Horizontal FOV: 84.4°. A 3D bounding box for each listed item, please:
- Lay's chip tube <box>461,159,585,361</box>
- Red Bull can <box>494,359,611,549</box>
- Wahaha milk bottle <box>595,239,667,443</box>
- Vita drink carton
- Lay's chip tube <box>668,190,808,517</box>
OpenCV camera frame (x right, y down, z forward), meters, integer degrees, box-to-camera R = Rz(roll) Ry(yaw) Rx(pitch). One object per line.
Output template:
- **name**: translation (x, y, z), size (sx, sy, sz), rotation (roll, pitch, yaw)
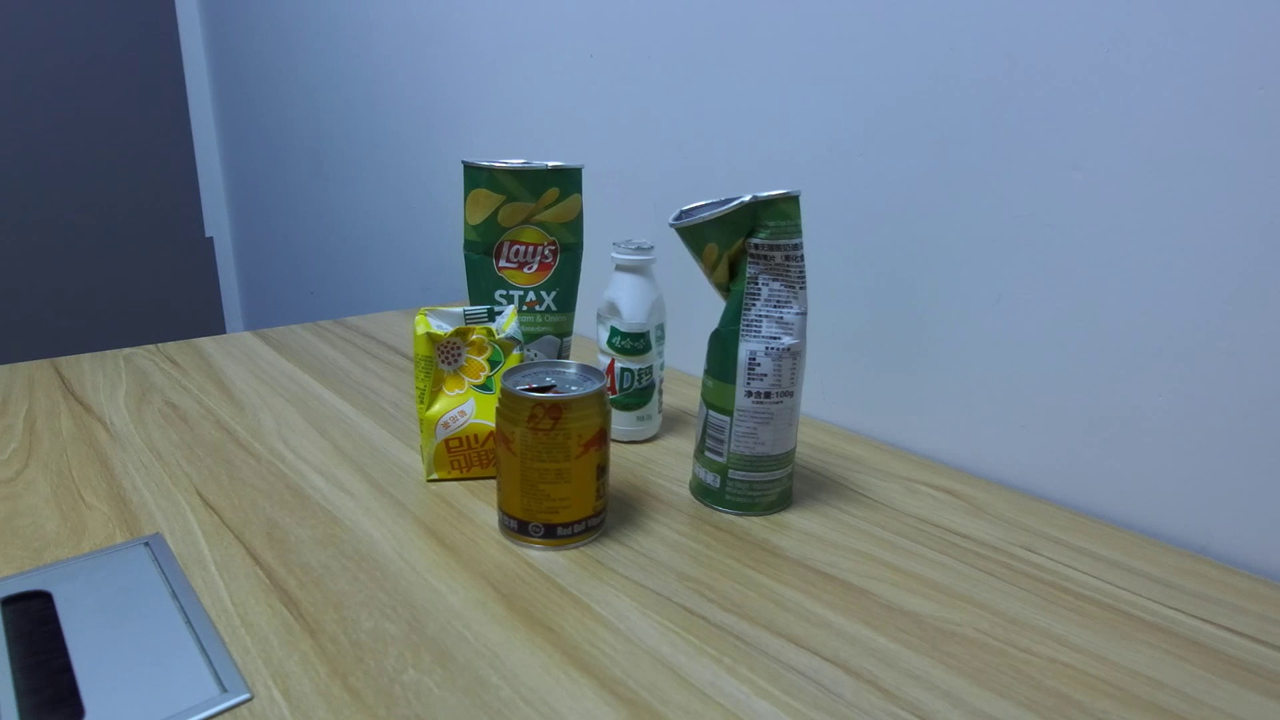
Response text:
- **Lay's chip tube**: translation (-0.093, -0.056, 0.570), size (0.075, 0.199, 0.068), rotation (-15, 24, -43)
- **Red Bull can**: translation (-0.050, 0.053, 0.411), size (0.067, 0.093, 0.067), rotation (3, 19, -1)
- **Wahaha milk bottle**: translation (-0.007, -0.014, 0.530), size (0.055, 0.149, 0.055), rotation (2, 19, 0)
- **Vita drink carton**: translation (-0.114, 0.022, 0.475), size (0.071, 0.109, 0.046), rotation (-1, 18, -15)
- **Lay's chip tube**: translation (0.061, -0.003, 0.439), size (0.071, 0.199, 0.079), rotation (-8, 18, -8)
